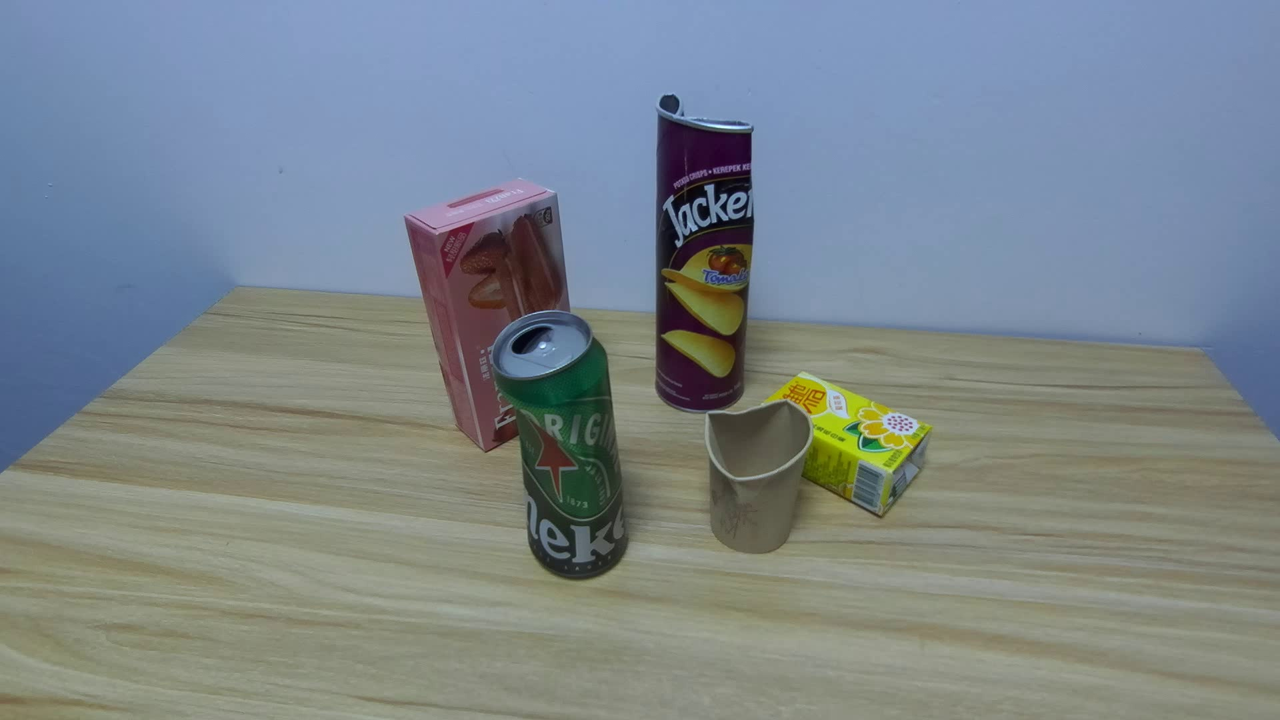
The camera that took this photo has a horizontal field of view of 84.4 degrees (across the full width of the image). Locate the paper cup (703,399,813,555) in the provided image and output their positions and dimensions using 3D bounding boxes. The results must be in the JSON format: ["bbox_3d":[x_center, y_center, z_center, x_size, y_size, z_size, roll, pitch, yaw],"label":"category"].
[{"bbox_3d":[0.076,0.079,0.457,0.072,0.084,0.066,-10,36,-10],"label":"paper cup"}]

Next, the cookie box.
[{"bbox_3d":[-0.103,-0.031,0.535,0.096,0.185,0.048,-28,40,-32],"label":"cookie box"}]

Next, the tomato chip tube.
[{"bbox_3d":[0.049,-0.073,0.541,0.076,0.235,0.077,5,35,11],"label":"tomato chip tube"}]

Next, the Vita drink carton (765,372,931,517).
[{"bbox_3d":[0.145,0.058,0.517,0.108,0.043,0.067,26,41,35],"label":"Vita drink carton"}]

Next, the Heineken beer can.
[{"bbox_3d":[-0.046,0.056,0.425,0.069,0.169,0.068,2,37,11],"label":"Heineken beer can"}]
